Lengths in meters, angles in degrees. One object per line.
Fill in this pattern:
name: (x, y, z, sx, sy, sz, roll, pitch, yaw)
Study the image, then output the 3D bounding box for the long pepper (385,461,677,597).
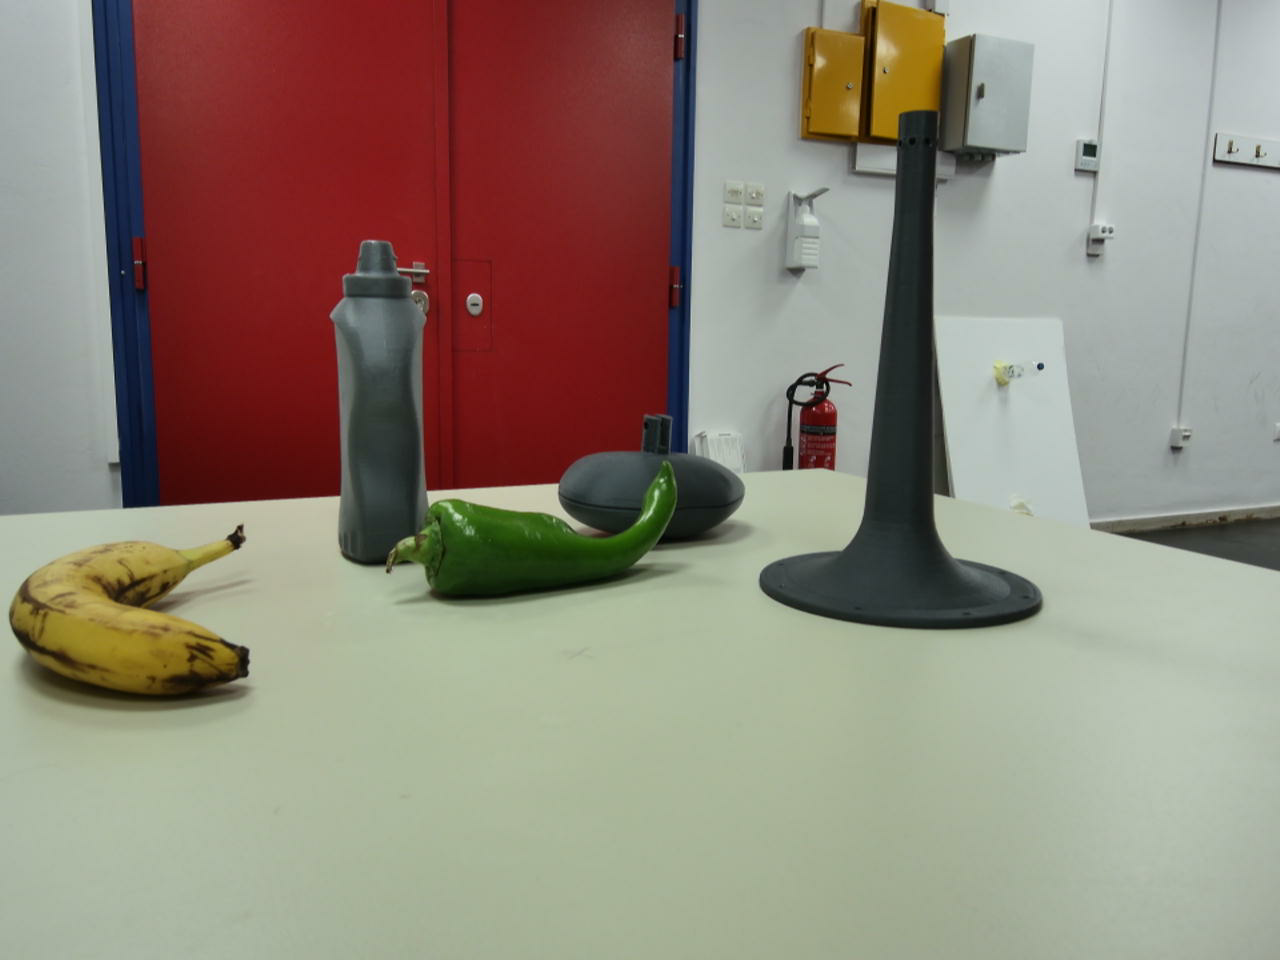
long pepper: (-0.052, 0.027, 0.549, 0.175, 0.065, 0.058, -3, 7, -27)
